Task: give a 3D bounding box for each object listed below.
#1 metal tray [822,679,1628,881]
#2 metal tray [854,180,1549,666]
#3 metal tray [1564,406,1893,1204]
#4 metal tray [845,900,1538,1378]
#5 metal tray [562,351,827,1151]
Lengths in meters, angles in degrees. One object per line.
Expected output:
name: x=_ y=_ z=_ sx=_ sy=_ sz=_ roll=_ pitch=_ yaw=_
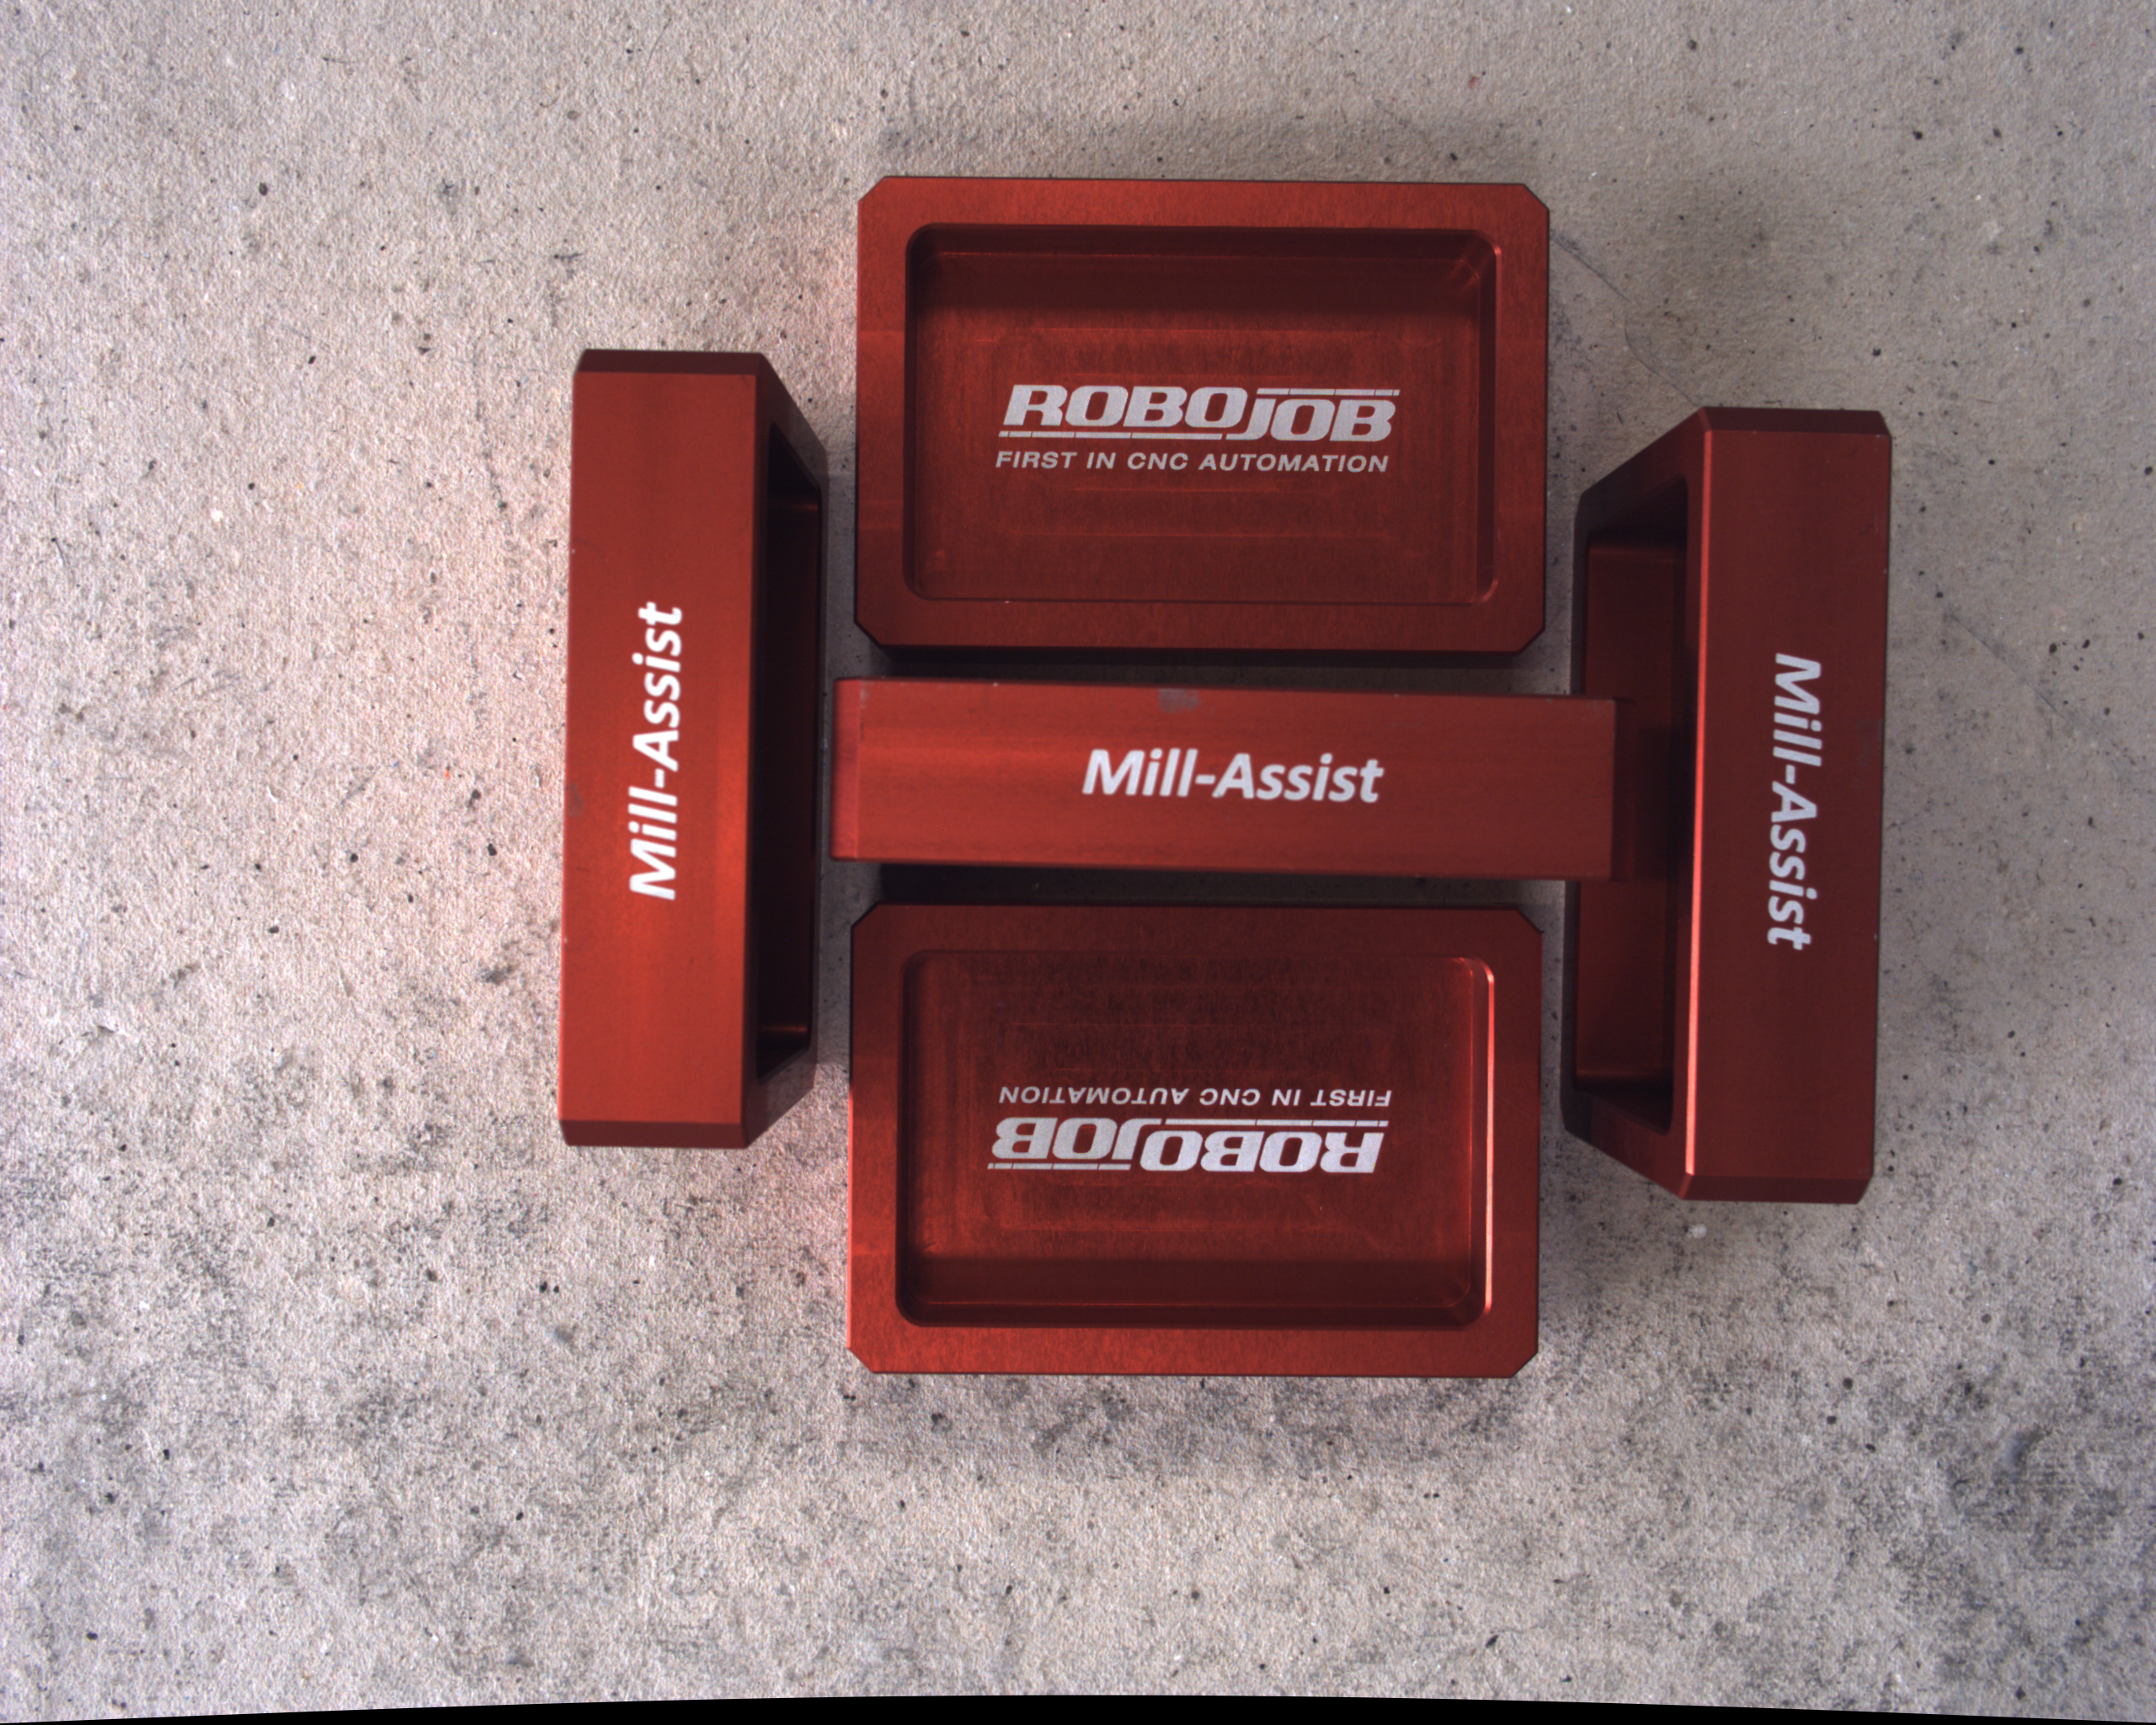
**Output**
metal tray: x=0.024 y=-0.014 z=0.380 sx=0.131 sy=0.090 sz=0.030 roll=1 pitch=92 yaw=0
metal tray: x=0.023 y=-0.084 z=0.409 sx=0.131 sy=0.030 sz=0.089 roll=0 pitch=93 yaw=0
metal tray: x=0.115 y=-0.010 z=0.379 sx=0.030 sy=0.090 sz=0.129 roll=1 pitch=90 yaw=0
metal tray: x=0.022 y=0.053 z=0.410 sx=0.131 sy=0.030 sz=0.089 roll=1 pitch=89 yaw=0
metal tray: x=-0.067 y=-0.019 z=0.378 sx=0.030 sy=0.090 sz=0.129 roll=1 pitch=91 yaw=0
